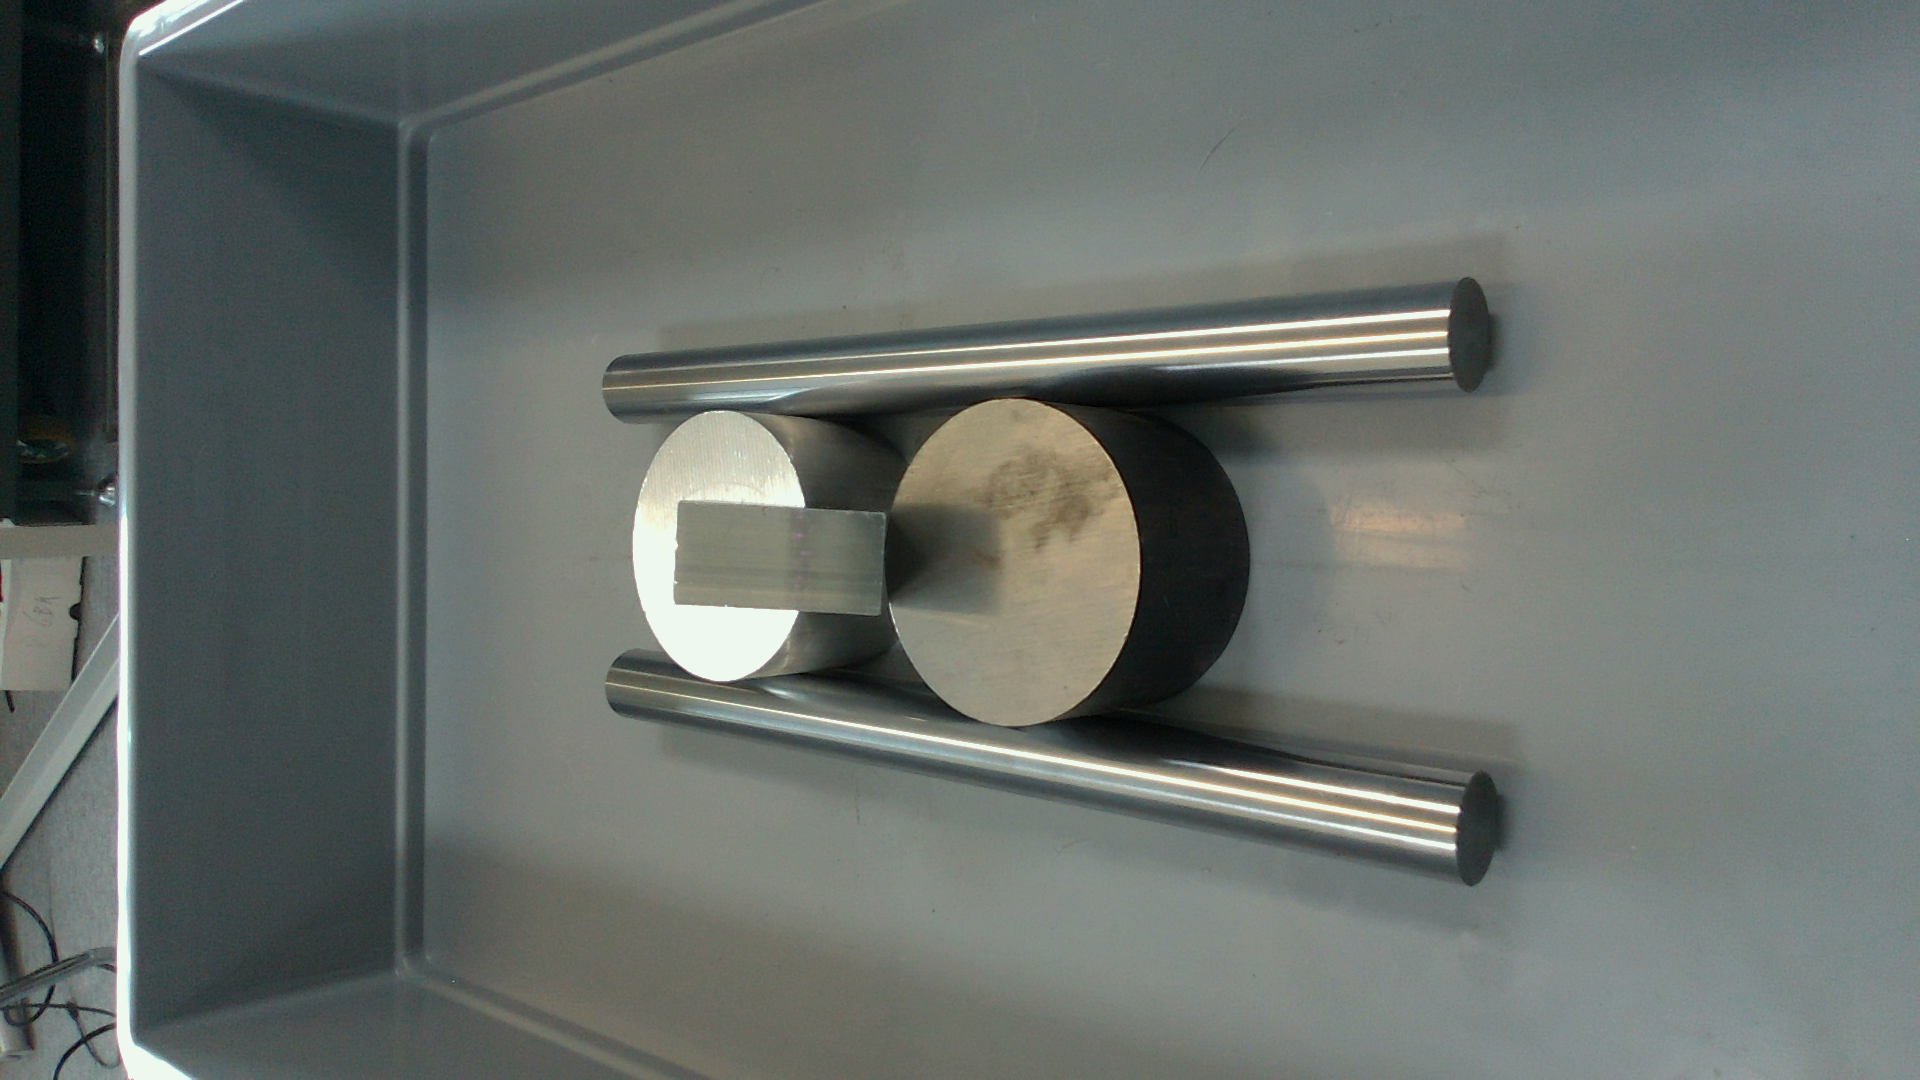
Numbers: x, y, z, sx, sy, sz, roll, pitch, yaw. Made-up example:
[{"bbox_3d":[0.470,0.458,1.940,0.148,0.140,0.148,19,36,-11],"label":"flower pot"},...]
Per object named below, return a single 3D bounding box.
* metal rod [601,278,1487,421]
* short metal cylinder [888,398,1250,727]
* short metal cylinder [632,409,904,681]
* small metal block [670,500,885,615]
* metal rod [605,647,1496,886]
[{"bbox_3d":[-0.004,-0.049,0.396,0.299,0.025,0.025,2,92,40],"label":"metal rod"},{"bbox_3d":[0.027,0.005,0.355,0.080,0.050,0.080,0,90,40],"label":"short metal cylinder"},{"bbox_3d":[-0.056,0.001,0.425,0.080,0.050,0.080,0,90,40],"label":"short metal cylinder"},{"bbox_3d":[-0.045,0.003,0.354,0.050,0.050,0.025,3,91,-3],"label":"small metal block"},{"bbox_3d":[-0.002,0.057,0.395,0.299,0.025,0.025,3,92,40],"label":"metal rod"}]
